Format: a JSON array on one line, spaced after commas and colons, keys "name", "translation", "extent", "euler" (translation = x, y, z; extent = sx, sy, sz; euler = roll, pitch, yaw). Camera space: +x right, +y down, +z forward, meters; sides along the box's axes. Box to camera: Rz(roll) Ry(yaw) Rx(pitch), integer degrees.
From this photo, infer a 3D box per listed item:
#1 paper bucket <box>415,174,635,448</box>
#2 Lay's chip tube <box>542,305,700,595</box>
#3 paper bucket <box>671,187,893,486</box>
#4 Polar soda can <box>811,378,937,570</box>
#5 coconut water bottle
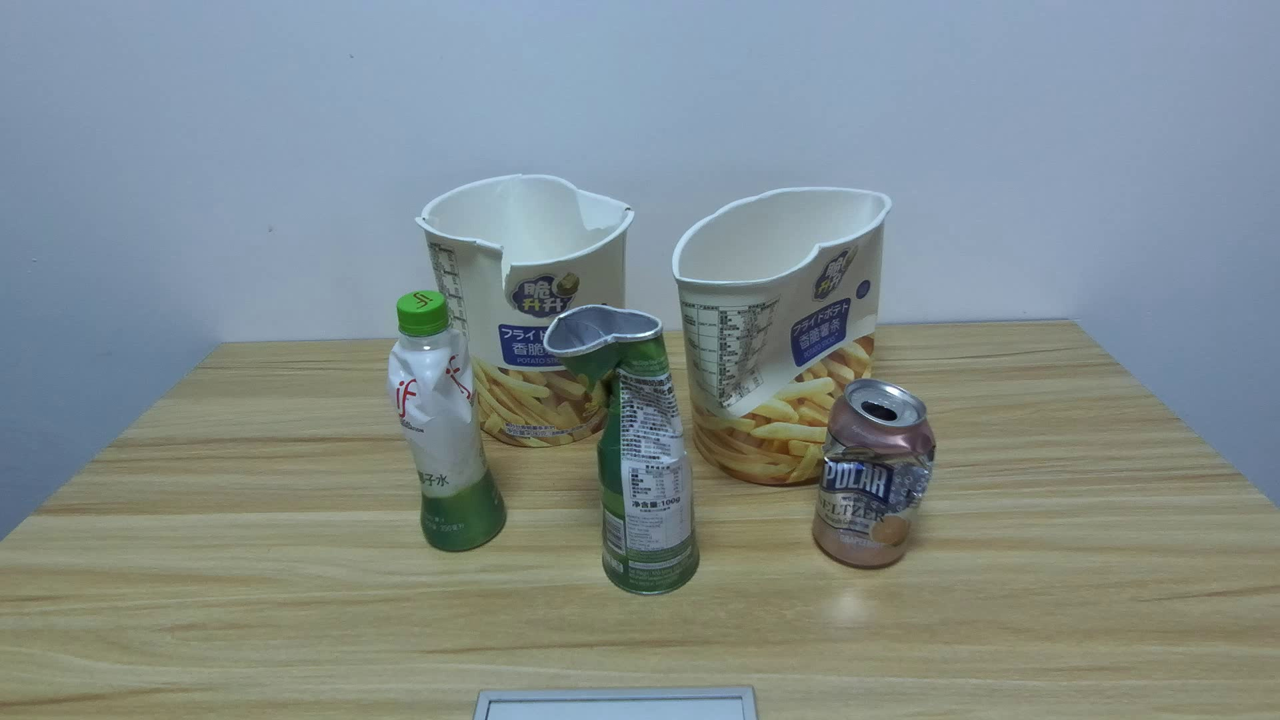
[{"name": "paper bucket", "translation": [-0.088, -0.043, 0.624], "extent": [0.146, 0.197, 0.201], "euler": [-29, 39, -35]}, {"name": "Lay's chip tube", "translation": [-0.006, 0.058, 0.449], "extent": [0.071, 0.200, 0.079], "euler": [-14, 30, -4]}, {"name": "paper bucket", "translation": [0.117, -0.020, 0.566], "extent": [0.147, 0.199, 0.218], "euler": [7, 31, 14]}, {"name": "Polar soda can", "translation": [0.160, 0.078, 0.481], "extent": [0.070, 0.122, 0.067], "euler": [13, 28, 23]}, {"name": "coconut water bottle", "translation": [-0.137, 0.044, 0.495], "extent": [0.067, 0.187, 0.067], "euler": [-2, 28, 1]}]
